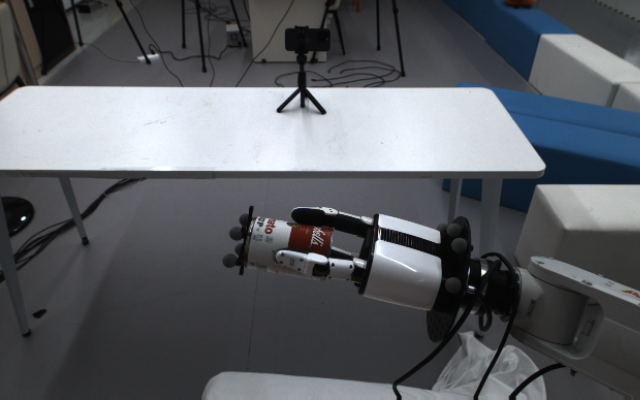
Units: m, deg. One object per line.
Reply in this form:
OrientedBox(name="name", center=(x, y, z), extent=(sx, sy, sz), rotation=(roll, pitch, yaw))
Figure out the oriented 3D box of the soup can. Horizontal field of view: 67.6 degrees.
OrientedBox(name="soup can", center=(-0.035, 0.061, 0.607), extent=(0.101, 0.067, 0.067), rotation=(10, 35, 1))
